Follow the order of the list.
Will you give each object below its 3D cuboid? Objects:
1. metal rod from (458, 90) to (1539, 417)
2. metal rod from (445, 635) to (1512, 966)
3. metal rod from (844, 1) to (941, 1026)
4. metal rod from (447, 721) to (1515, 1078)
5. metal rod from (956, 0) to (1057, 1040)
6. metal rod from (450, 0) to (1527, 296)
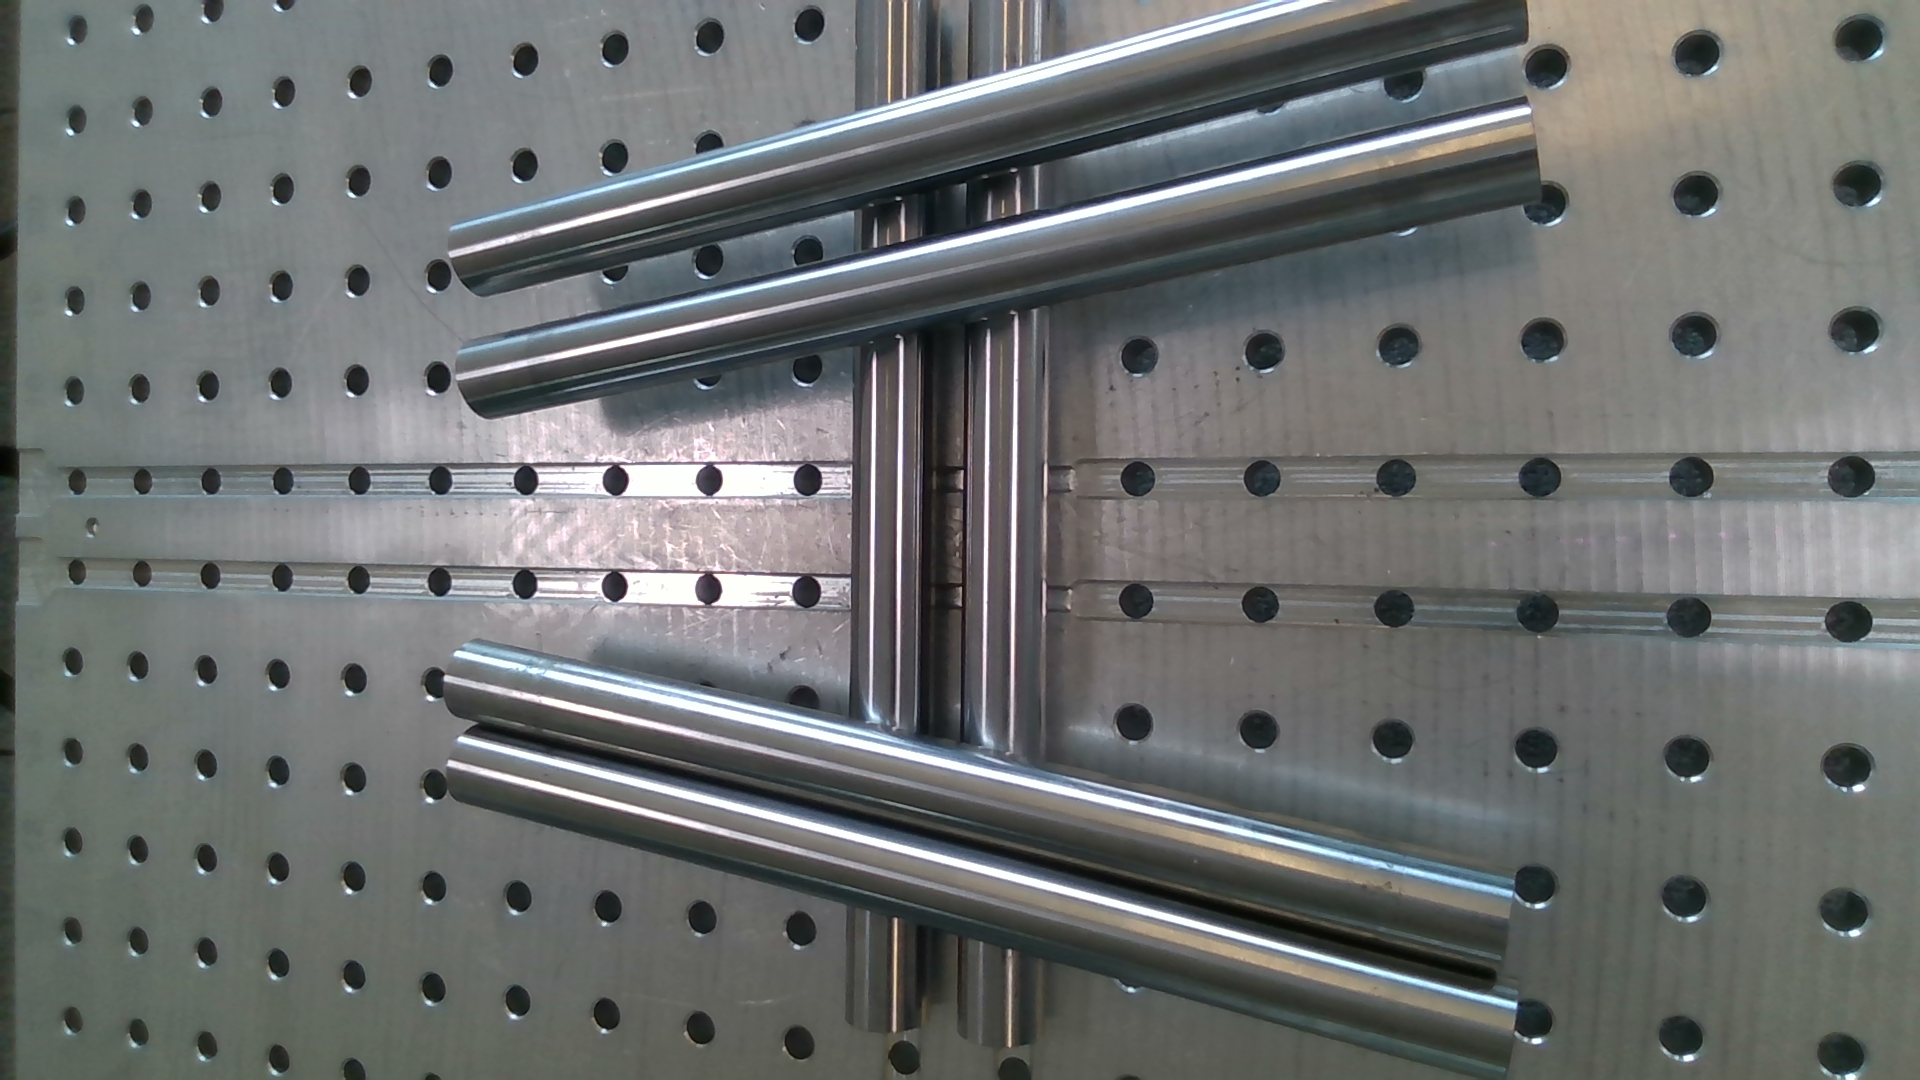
[{"bbox_3d":[-0.006,-0.071,0.372,0.300,0.025,0.025,-9,87,20],"label":"metal rod"},{"bbox_3d":[-0.011,0.065,0.375,0.300,0.025,0.025,9,93,20],"label":"metal rod"},{"bbox_3d":[-0.020,-0.011,0.404,0.025,0.025,0.300,1,91,20],"label":"metal rod"},{"bbox_3d":[-0.011,0.091,0.375,0.300,0.025,0.025,9,93,20],"label":"metal rod"},{"bbox_3d":[0.013,-0.011,0.392,0.025,0.025,0.300,1,91,20],"label":"metal rod"},{"bbox_3d":[-0.009,-0.109,0.373,0.300,0.025,0.025,-9,87,20],"label":"metal rod"}]
